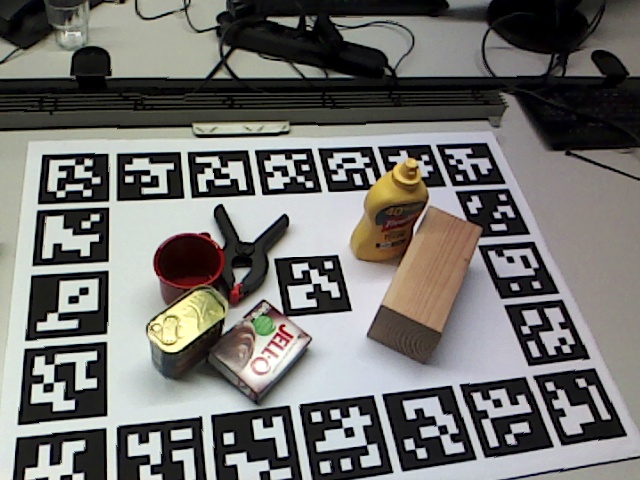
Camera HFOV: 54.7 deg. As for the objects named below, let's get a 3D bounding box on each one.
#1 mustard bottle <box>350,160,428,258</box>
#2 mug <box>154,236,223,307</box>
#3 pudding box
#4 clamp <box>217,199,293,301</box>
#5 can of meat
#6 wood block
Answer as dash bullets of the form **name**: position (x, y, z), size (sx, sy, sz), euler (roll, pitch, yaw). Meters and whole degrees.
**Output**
- **mustard bottle**: position (0.107, -0.048, 0.915), size (0.096, 0.191, 0.059), euler (-8, 57, -16)
- **mug**: position (-0.184, 0.049, 0.886), size (0.093, 0.081, 0.117), euler (14, 54, 0)
- **pudding box**: position (-0.076, 0.148, 0.832), size (0.090, 0.038, 0.113), euler (37, 54, 16)
- **clamp**: position (-0.112, 0.015, 0.931), size (0.122, 0.036, 0.165), euler (13, 54, -3)
- **can of meat**: position (-0.170, 0.121, 0.800), size (0.101, 0.083, 0.058), euler (-32, 67, -29)
- **wood block**: position (0.158, 0.065, 0.910), size (0.090, 0.091, 0.206), euler (25, 51, 10)
